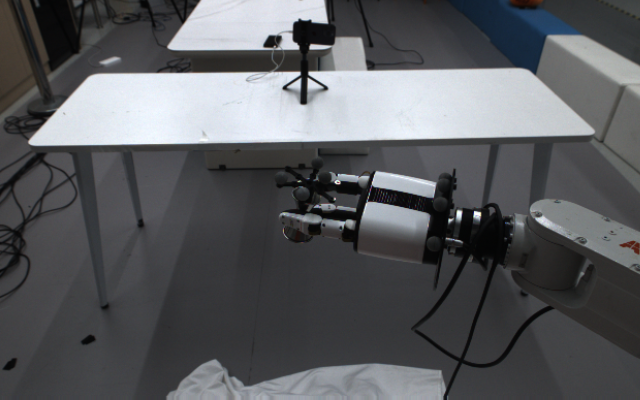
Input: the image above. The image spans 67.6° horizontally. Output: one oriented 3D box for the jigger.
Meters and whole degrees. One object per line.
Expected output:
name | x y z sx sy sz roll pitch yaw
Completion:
jigger | -0.024 0.020 0.662 0.043 0.071 0.043 10 36 -7
